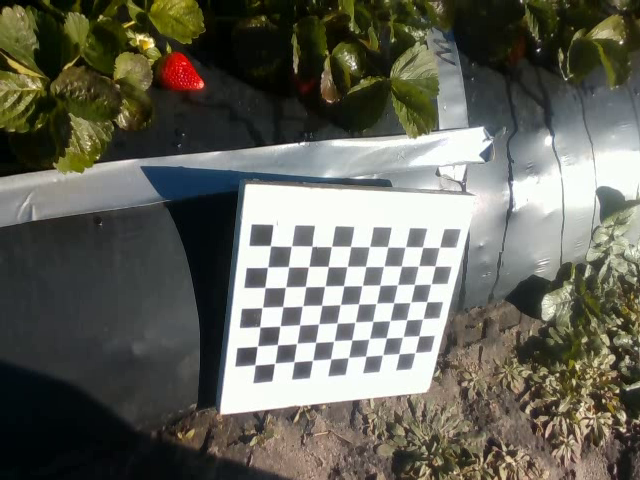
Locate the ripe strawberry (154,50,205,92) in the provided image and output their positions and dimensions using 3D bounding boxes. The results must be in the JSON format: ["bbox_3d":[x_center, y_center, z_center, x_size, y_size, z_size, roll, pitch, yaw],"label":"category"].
[{"bbox_3d":[-0.144,-0.171,0.659,0.059,0.046,0.042,32,4,-13],"label":"ripe strawberry"}]
